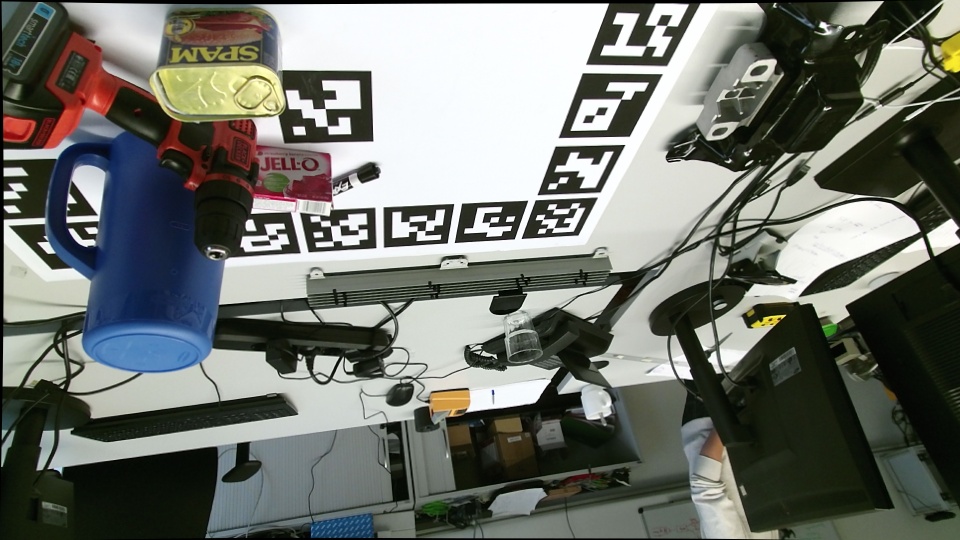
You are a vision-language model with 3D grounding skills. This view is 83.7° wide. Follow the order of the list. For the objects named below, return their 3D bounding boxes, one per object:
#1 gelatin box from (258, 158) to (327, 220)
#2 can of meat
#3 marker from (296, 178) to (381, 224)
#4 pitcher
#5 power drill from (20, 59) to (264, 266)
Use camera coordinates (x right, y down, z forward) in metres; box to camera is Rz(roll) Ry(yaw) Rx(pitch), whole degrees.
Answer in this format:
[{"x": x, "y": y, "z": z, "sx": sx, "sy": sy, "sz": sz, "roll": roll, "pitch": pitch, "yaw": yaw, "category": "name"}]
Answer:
[{"x": -0.227, "y": -0.097, "z": 0.633, "sx": 0.090, "sy": 0.073, "sz": 0.030, "roll": 2, "pitch": 140, "yaw": -20, "category": "gelatin box"}, {"x": -0.234, "y": -0.181, "z": 0.489, "sx": 0.102, "sy": 0.083, "sz": 0.058, "roll": -6, "pitch": 148, "yaw": -11, "category": "can of meat"}, {"x": -0.185, "y": -0.091, "z": 0.701, "sx": 0.121, "sy": 0.019, "sz": 0.020, "roll": -21, "pitch": 146, "yaw": 10, "category": "marker"}, {"x": -0.354, "y": -0.019, "z": 0.564, "sx": 0.189, "sy": 0.241, "sz": 0.133, "roll": 11, "pitch": 137, "yaw": -42, "category": "pitcher"}, {"x": -0.299, "y": -0.101, "z": 0.503, "sx": 0.188, "sy": 0.183, "sz": 0.057, "roll": 24, "pitch": 129, "yaw": -35, "category": "power drill"}]
